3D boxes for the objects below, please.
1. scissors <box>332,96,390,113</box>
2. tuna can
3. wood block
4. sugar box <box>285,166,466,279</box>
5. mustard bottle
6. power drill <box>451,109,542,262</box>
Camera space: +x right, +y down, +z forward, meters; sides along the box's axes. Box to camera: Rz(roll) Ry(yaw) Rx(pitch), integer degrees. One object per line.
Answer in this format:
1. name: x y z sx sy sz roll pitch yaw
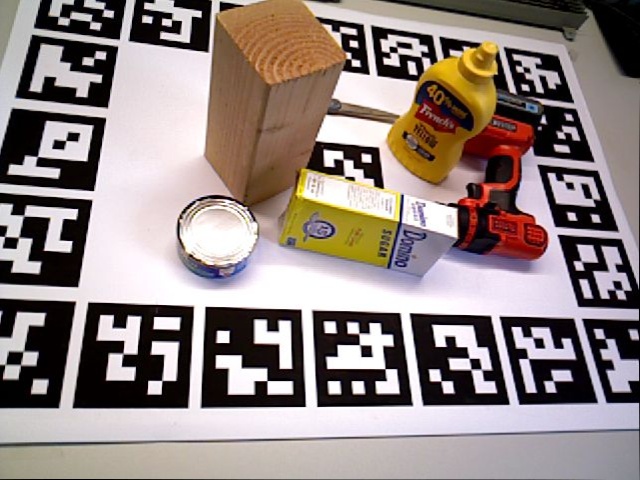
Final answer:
1. scissors: -0.005 -0.178 0.690 0.201 0.016 0.086 5 59 -12
2. tuna can: -0.107 -0.005 0.564 0.085 0.034 0.085 6 64 -13
3. wood block: -0.056 -0.132 0.555 0.089 0.211 0.089 -25 73 -25
4. sugar box: 0.058 -0.013 0.584 0.175 0.095 0.044 15 57 -9
5. mustard bottle: 0.151 -0.151 0.626 0.057 0.195 0.096 -38 79 -27
6. power drill: 0.186 -0.075 0.666 0.183 0.058 0.185 15 69 -7
